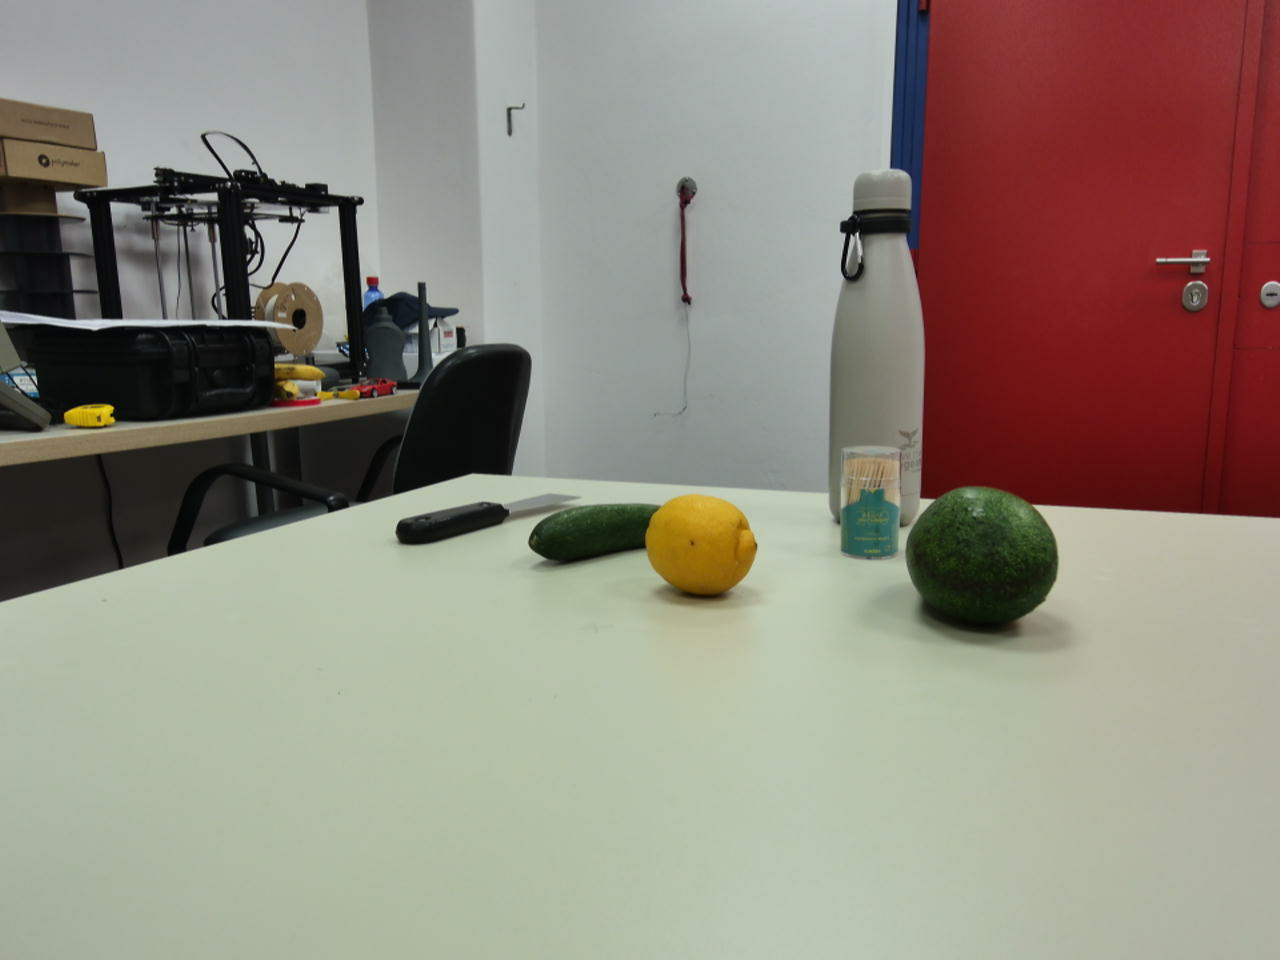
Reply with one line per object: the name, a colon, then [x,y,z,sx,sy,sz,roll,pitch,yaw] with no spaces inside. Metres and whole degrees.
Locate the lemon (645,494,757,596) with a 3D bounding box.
lemon: [0.036,0.039,0.603,0.061,0.059,0.067,-2,8,-25]
